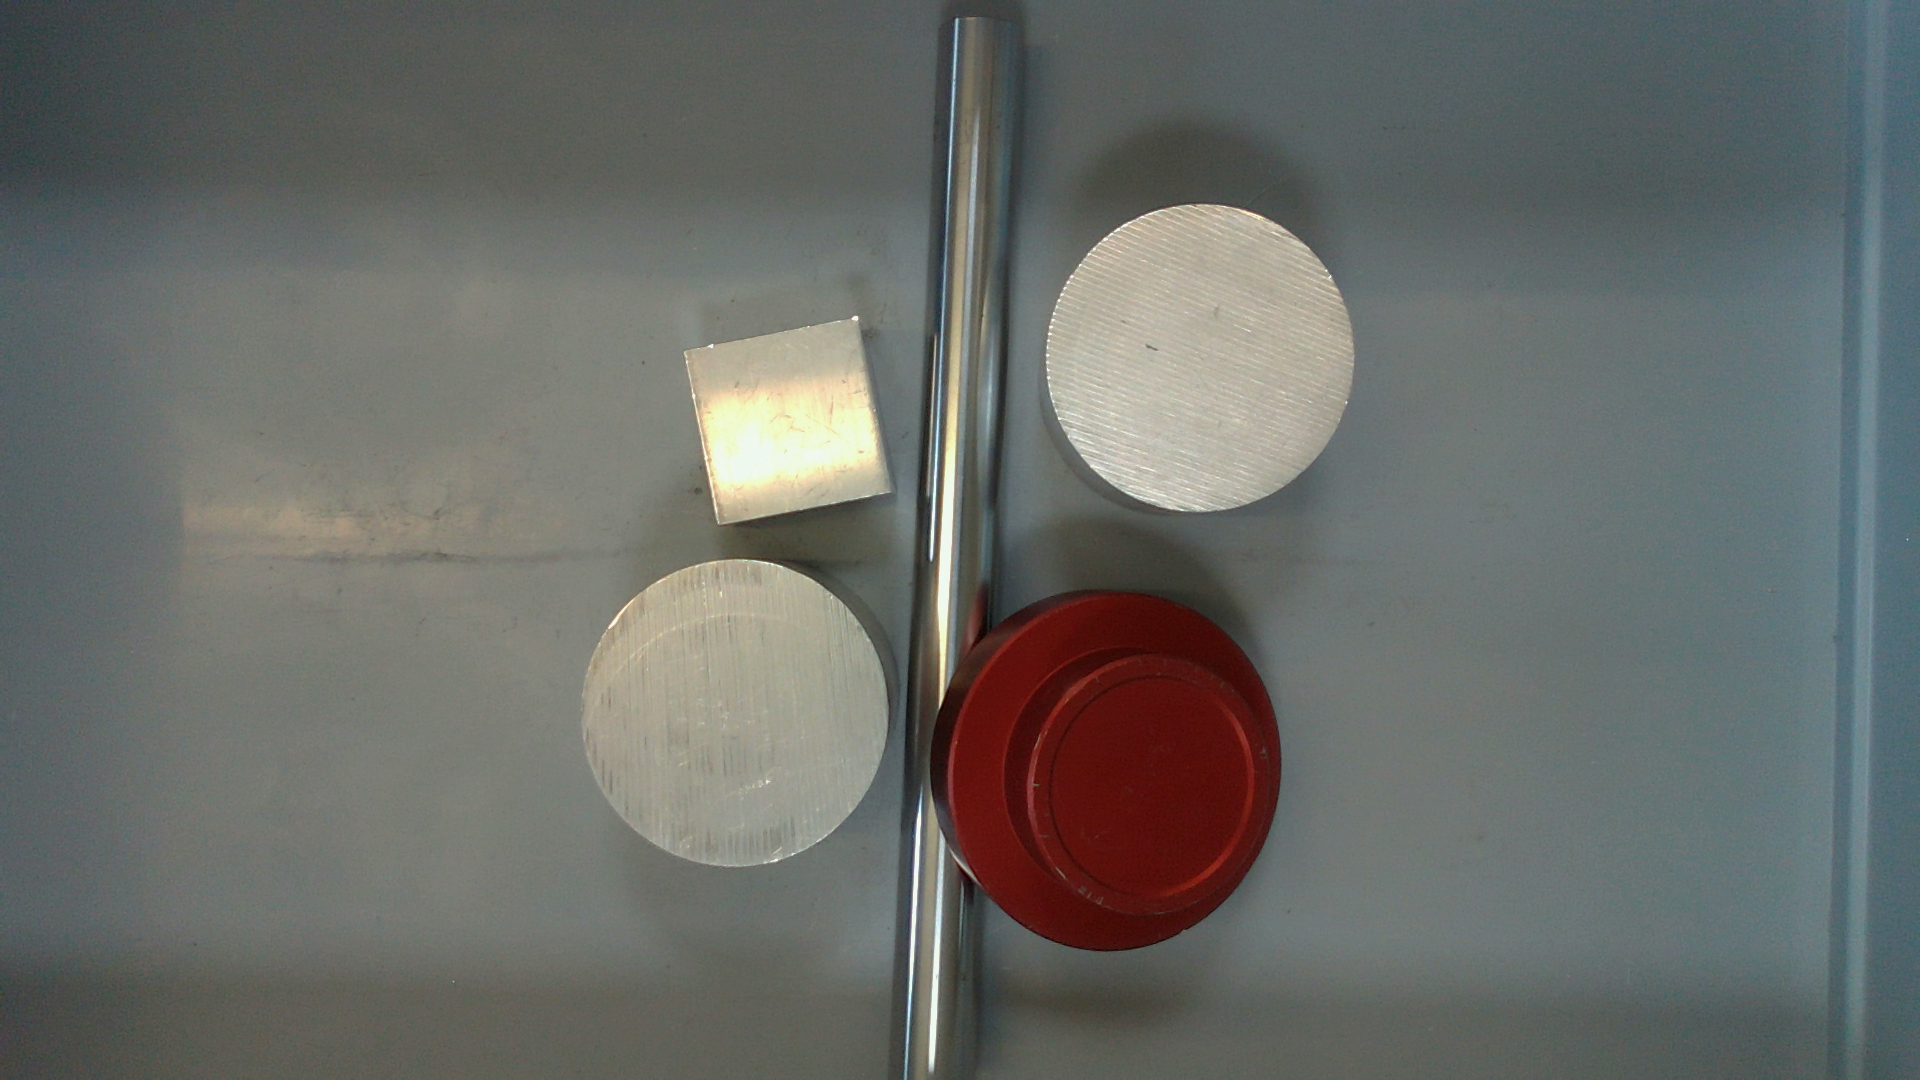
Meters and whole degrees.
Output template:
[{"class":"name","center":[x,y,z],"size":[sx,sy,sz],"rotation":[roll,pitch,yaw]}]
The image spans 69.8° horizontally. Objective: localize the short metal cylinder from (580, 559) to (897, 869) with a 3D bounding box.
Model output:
[{"class":"short metal cylinder","center":[-0.058,0.045,0.381],"size":[0.080,0.050,0.080],"rotation":[0,90,0]}]

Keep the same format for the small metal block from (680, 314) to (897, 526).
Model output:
[{"class":"small metal block","center":[-0.048,-0.033,0.393],"size":[0.050,0.025,0.050],"rotation":[-11,90,0]}]

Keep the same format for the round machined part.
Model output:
[{"class":"round machined part","center":[0.044,0.063,0.374],"size":[0.098,0.042,0.098],"rotation":[0,90,-16]}]

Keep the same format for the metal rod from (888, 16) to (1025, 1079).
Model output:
[{"class":"metal rod","center":[-0.001,0.005,0.394],"size":[0.025,0.025,0.300],"rotation":[3,90,0]}]

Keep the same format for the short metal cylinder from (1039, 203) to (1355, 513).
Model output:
[{"class":"short metal cylinder","center":[0.062,-0.047,0.381],"size":[0.080,0.050,0.080],"rotation":[0,90,0]}]
